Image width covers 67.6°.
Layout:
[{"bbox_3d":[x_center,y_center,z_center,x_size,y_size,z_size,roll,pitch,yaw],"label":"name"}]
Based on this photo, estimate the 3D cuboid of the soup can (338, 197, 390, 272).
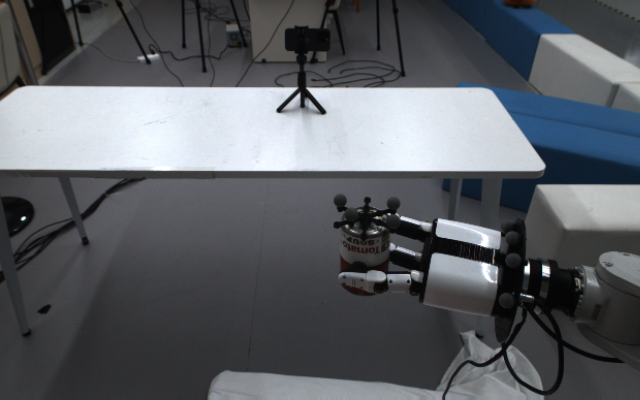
[{"bbox_3d":[0.063,0.067,0.648,0.067,0.101,0.067,-2,33,1],"label":"soup can"}]
